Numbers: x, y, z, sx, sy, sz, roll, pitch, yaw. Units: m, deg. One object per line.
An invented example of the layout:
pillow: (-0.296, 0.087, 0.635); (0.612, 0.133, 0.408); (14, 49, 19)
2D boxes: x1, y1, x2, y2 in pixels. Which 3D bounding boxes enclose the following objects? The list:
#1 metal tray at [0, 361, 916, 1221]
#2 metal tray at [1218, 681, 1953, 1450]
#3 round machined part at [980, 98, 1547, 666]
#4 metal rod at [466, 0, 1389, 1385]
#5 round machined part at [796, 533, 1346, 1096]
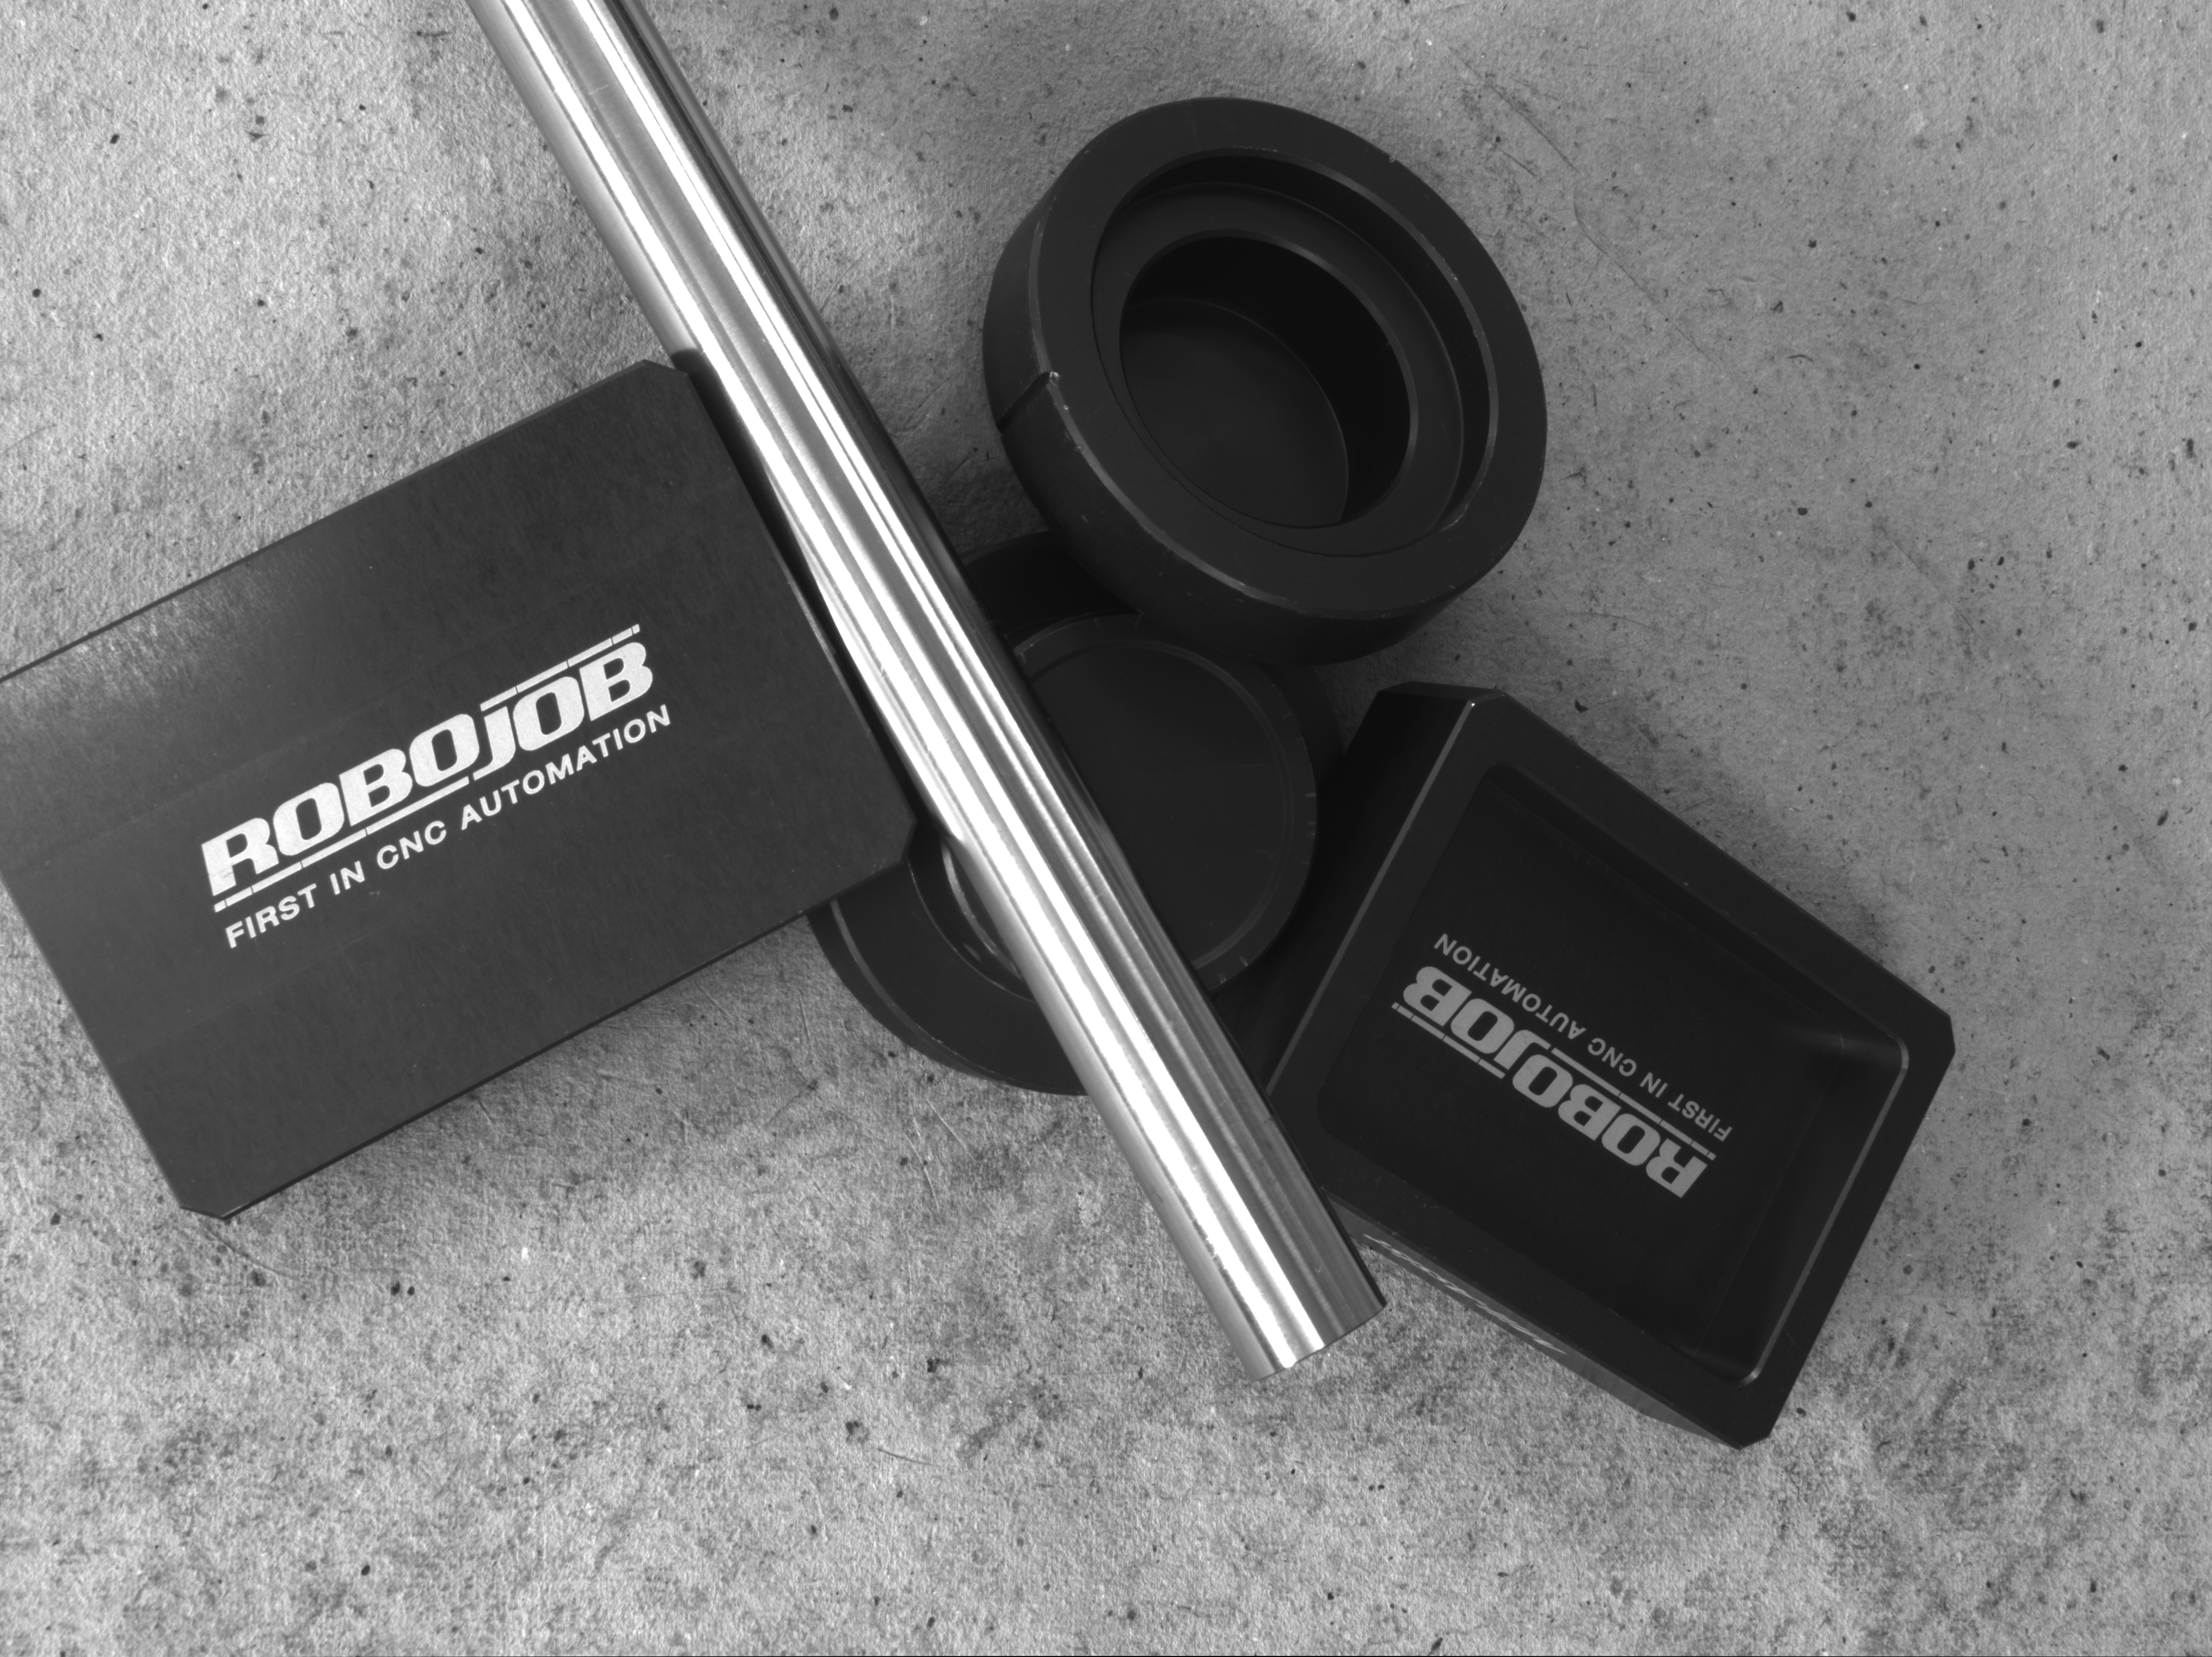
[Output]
metal tray: (-0.108, -0.007, 0.590); (0.130, 0.030, 0.090); (-28, 96, -9)
metal tray: (0.084, 0.043, 0.660); (0.130, 0.030, 0.090); (33, 79, -27)
round machined part: (0.023, -0.072, 0.632); (0.098, 0.042, 0.098); (11, 64, -22)
metal rod: (-0.040, -0.048, 0.594); (0.025, 0.025, 0.300); (-29, 86, -18)
round machined part: (-0.003, -0.003, 0.634); (0.098, 0.042, 0.098); (0, 90, -20)
